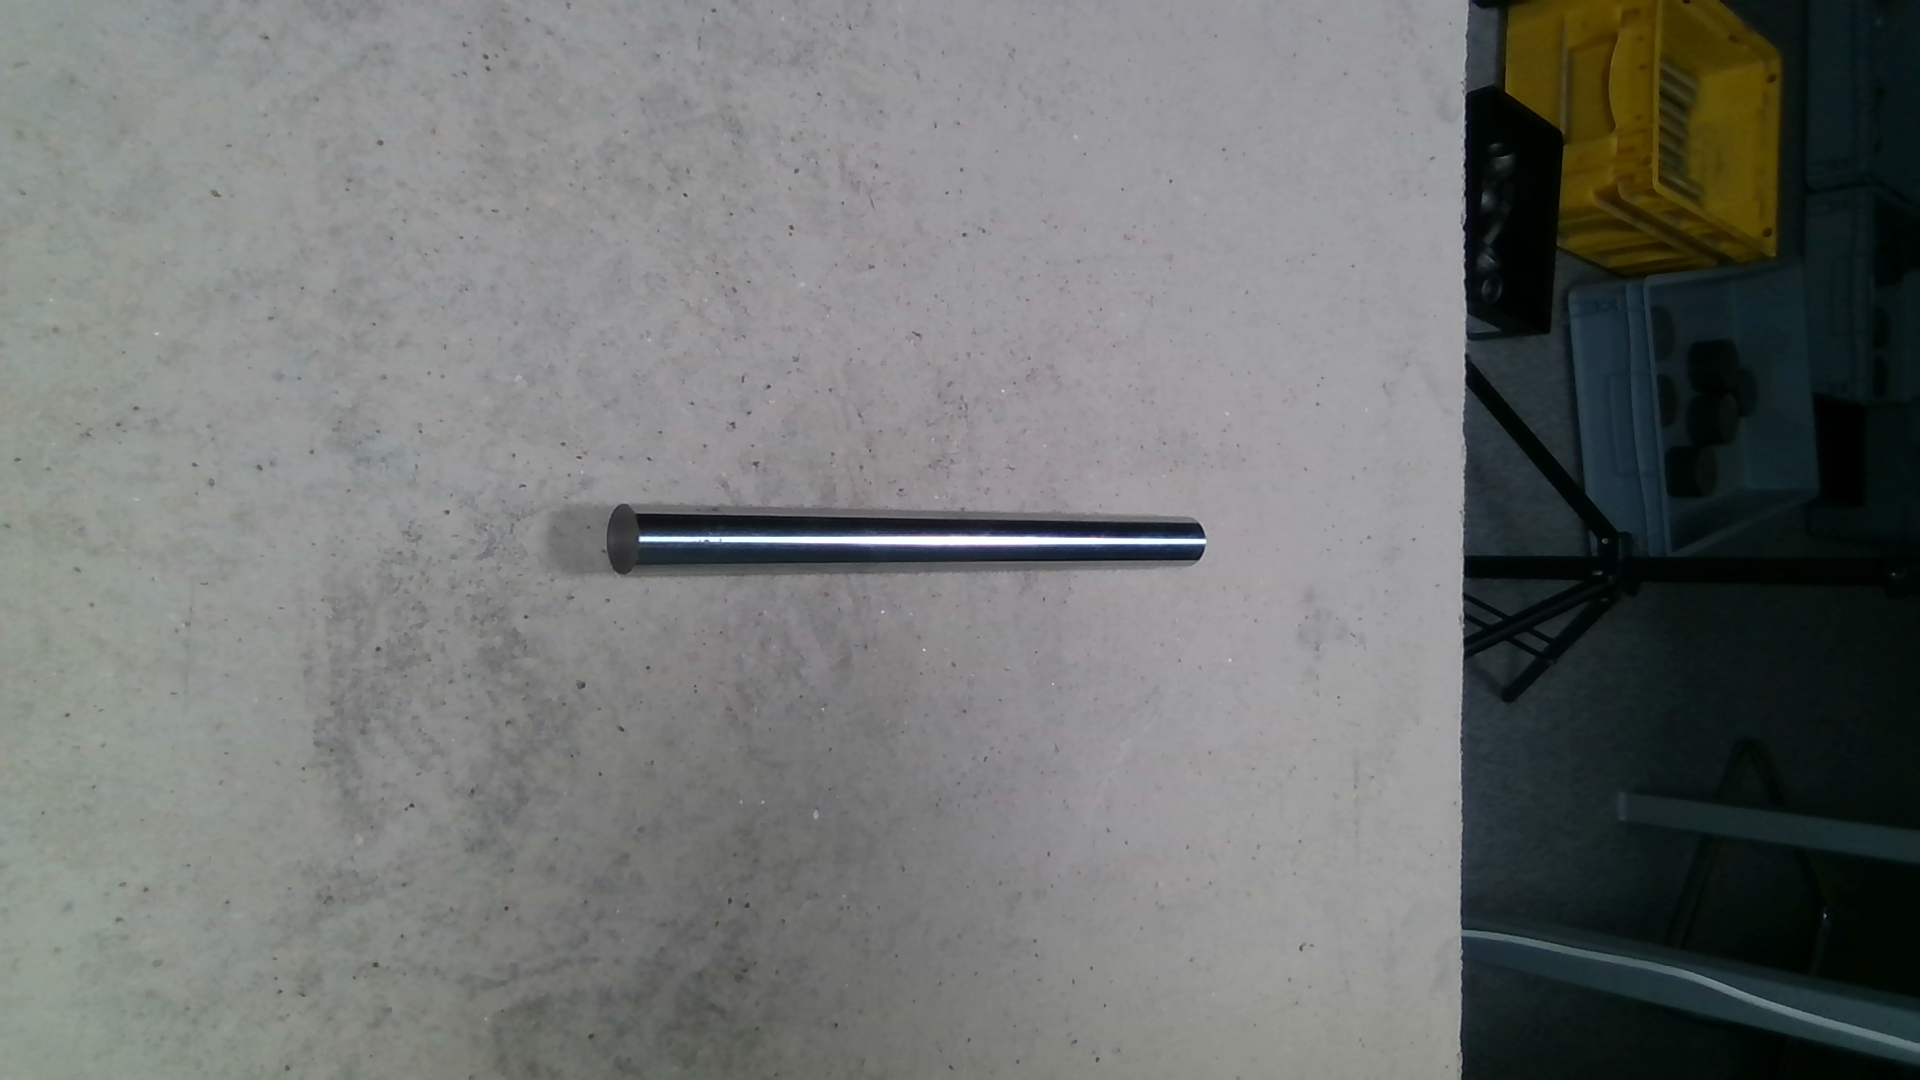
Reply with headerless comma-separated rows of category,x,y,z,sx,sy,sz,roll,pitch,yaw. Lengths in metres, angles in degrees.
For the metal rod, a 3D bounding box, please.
metal rod,-0.004,0.000,0.580,0.300,0.025,0.025,0,90,-40
